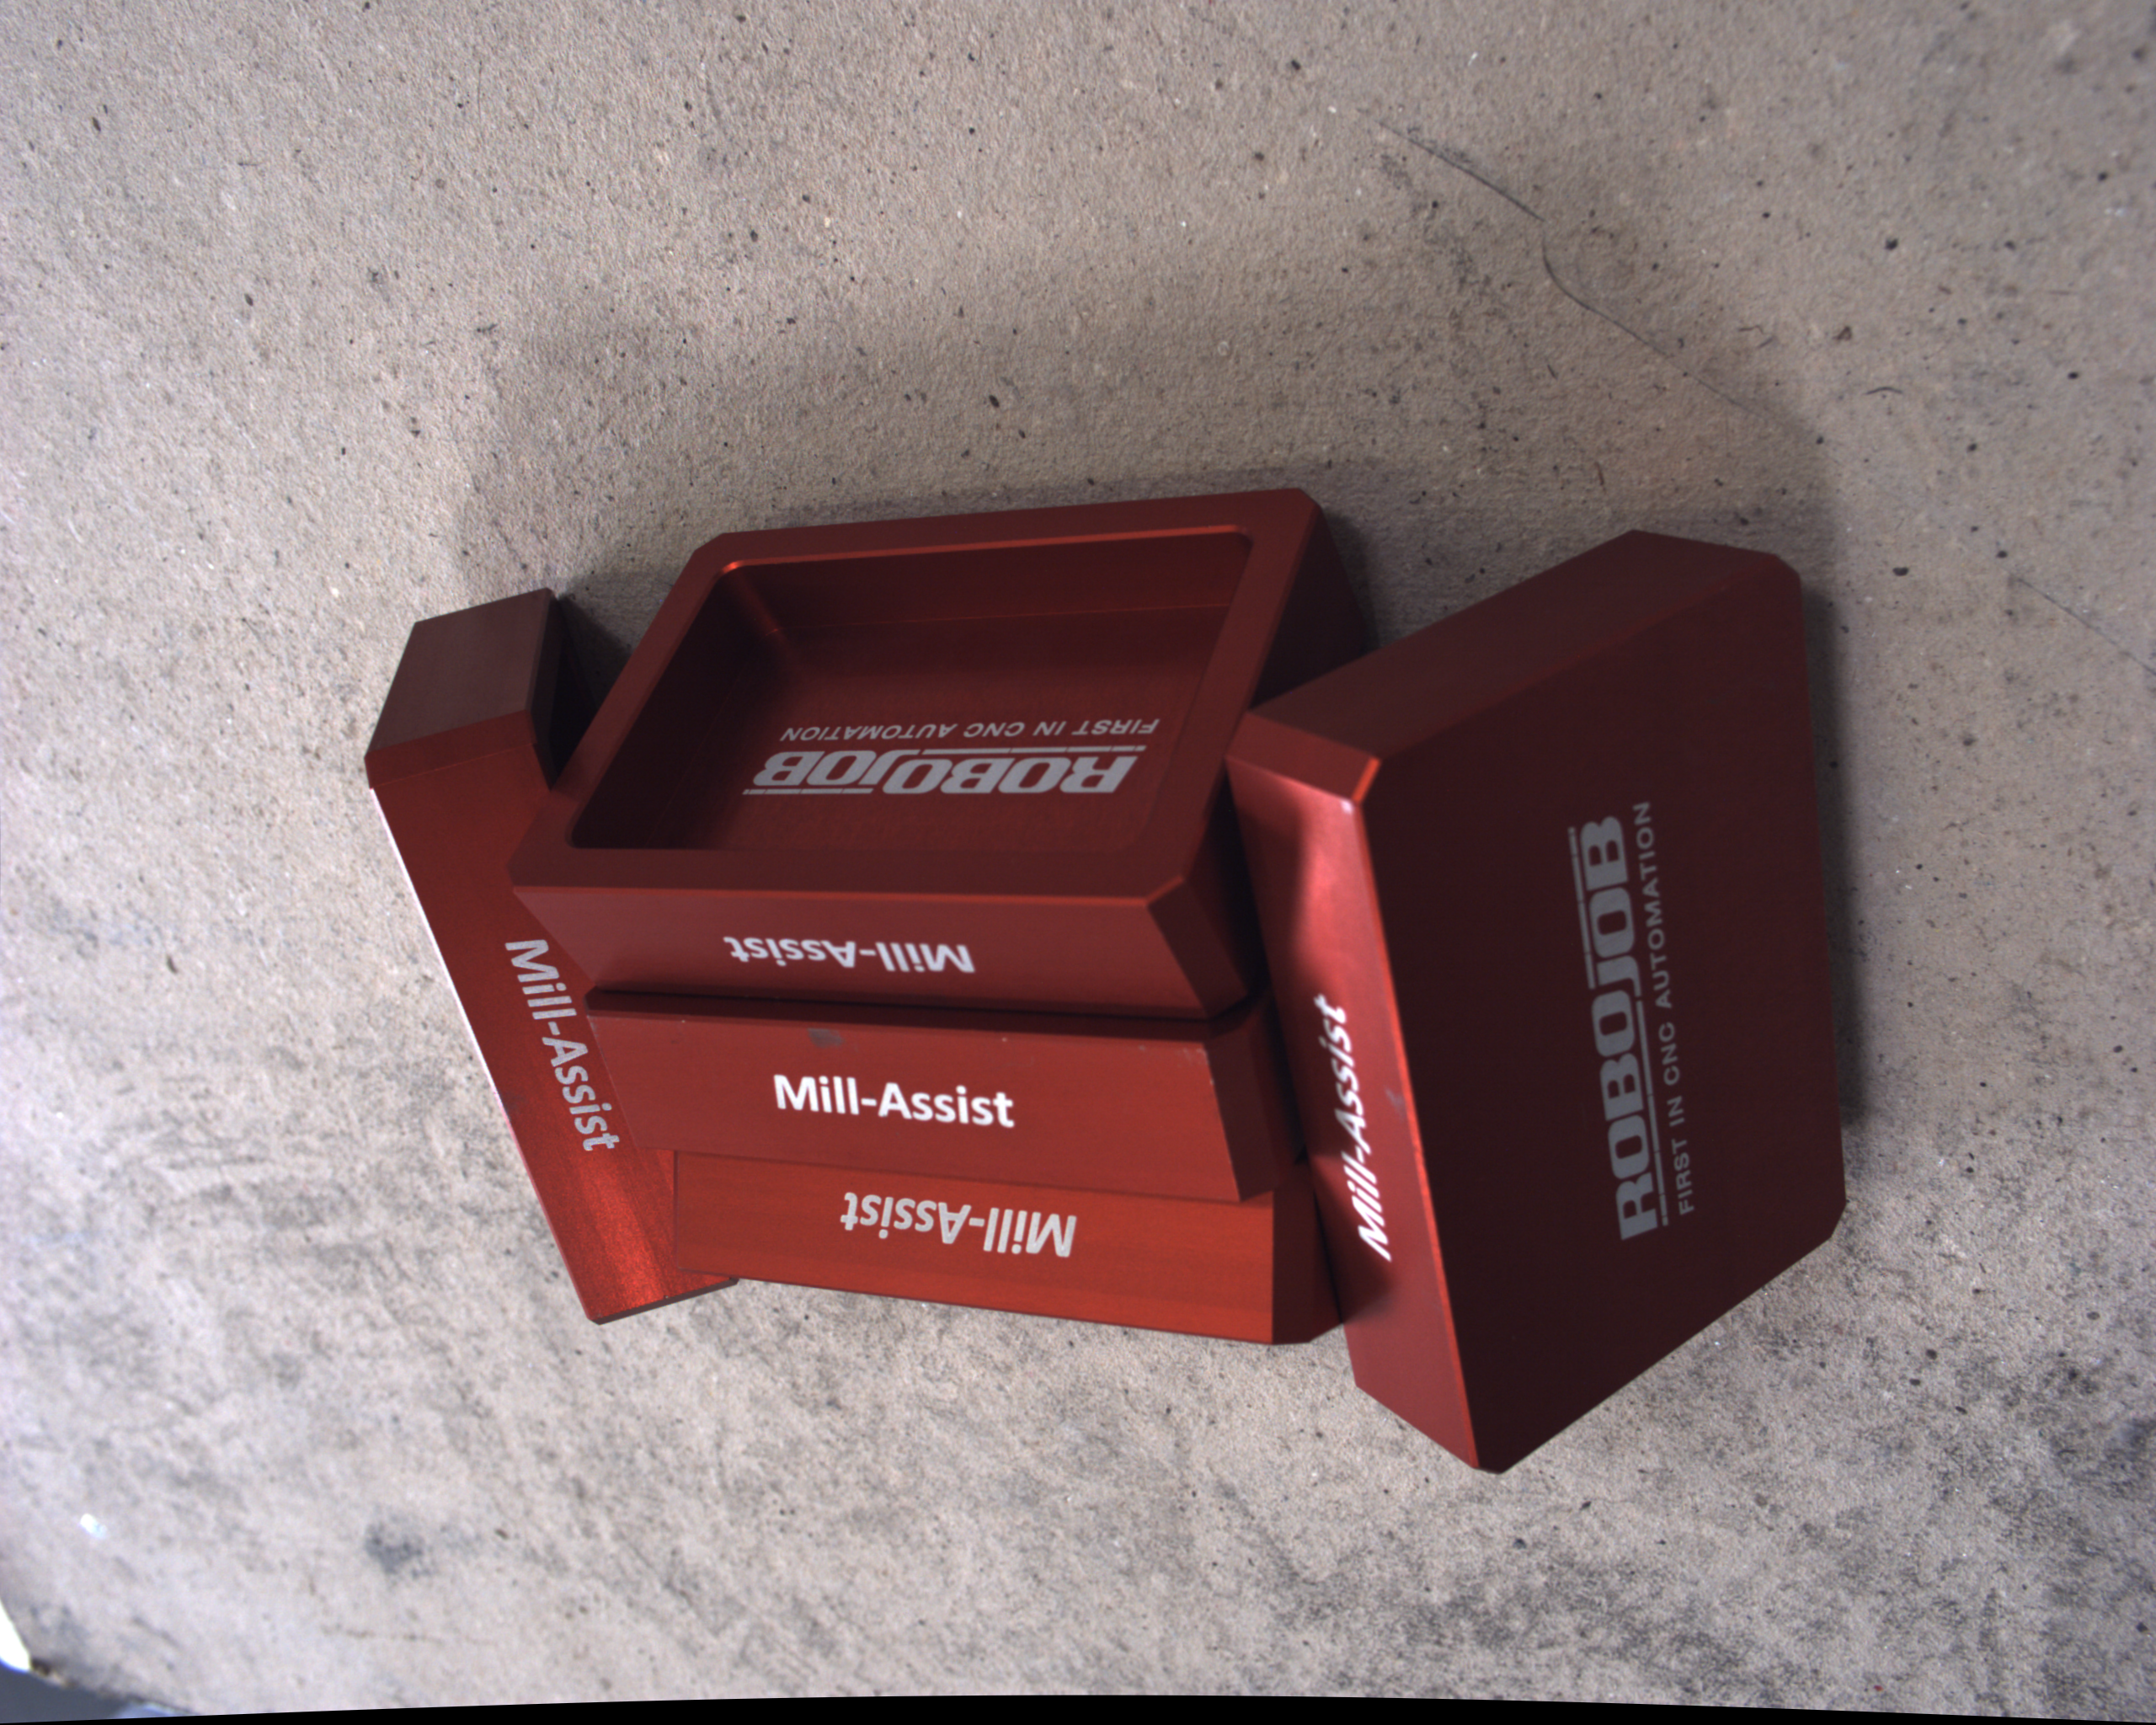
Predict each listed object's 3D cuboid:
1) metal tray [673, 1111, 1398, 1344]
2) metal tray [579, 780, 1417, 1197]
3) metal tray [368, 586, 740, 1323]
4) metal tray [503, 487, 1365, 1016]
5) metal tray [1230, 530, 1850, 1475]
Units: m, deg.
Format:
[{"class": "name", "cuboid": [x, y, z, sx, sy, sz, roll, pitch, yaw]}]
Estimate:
[{"class": "metal tray", "cuboid": [-0.001, 0.063, 0.404, 0.130, 0.090, 0.030, 1, 90, 28]}, {"class": "metal tray", "cuboid": [-0.013, 0.018, 0.384, 0.130, 0.090, 0.030, 0, 119, 28]}, {"class": "metal tray", "cuboid": [-0.105, 0.017, 0.433, 0.030, 0.090, 0.129, -16, 115, -5]}, {"class": "metal tray", "cuboid": [-0.025, -0.020, 0.364, 0.130, 0.090, 0.030, 1, 141, 28]}, {"class": "metal tray", "cuboid": [0.080, 0.023, 0.337, 0.030, 0.091, 0.129, 26, 136, 53]}]
